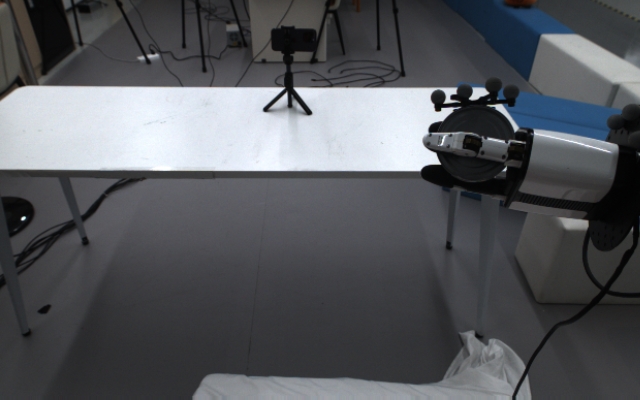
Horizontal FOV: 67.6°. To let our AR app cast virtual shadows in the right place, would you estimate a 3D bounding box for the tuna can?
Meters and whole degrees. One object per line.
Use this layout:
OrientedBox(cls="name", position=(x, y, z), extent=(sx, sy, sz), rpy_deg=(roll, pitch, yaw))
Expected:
OrientedBox(cls="tuna can", position=(0.178, -0.065, 0.557), extent=(0.085, 0.085, 0.034), rpy_deg=(15, 2, 18))
